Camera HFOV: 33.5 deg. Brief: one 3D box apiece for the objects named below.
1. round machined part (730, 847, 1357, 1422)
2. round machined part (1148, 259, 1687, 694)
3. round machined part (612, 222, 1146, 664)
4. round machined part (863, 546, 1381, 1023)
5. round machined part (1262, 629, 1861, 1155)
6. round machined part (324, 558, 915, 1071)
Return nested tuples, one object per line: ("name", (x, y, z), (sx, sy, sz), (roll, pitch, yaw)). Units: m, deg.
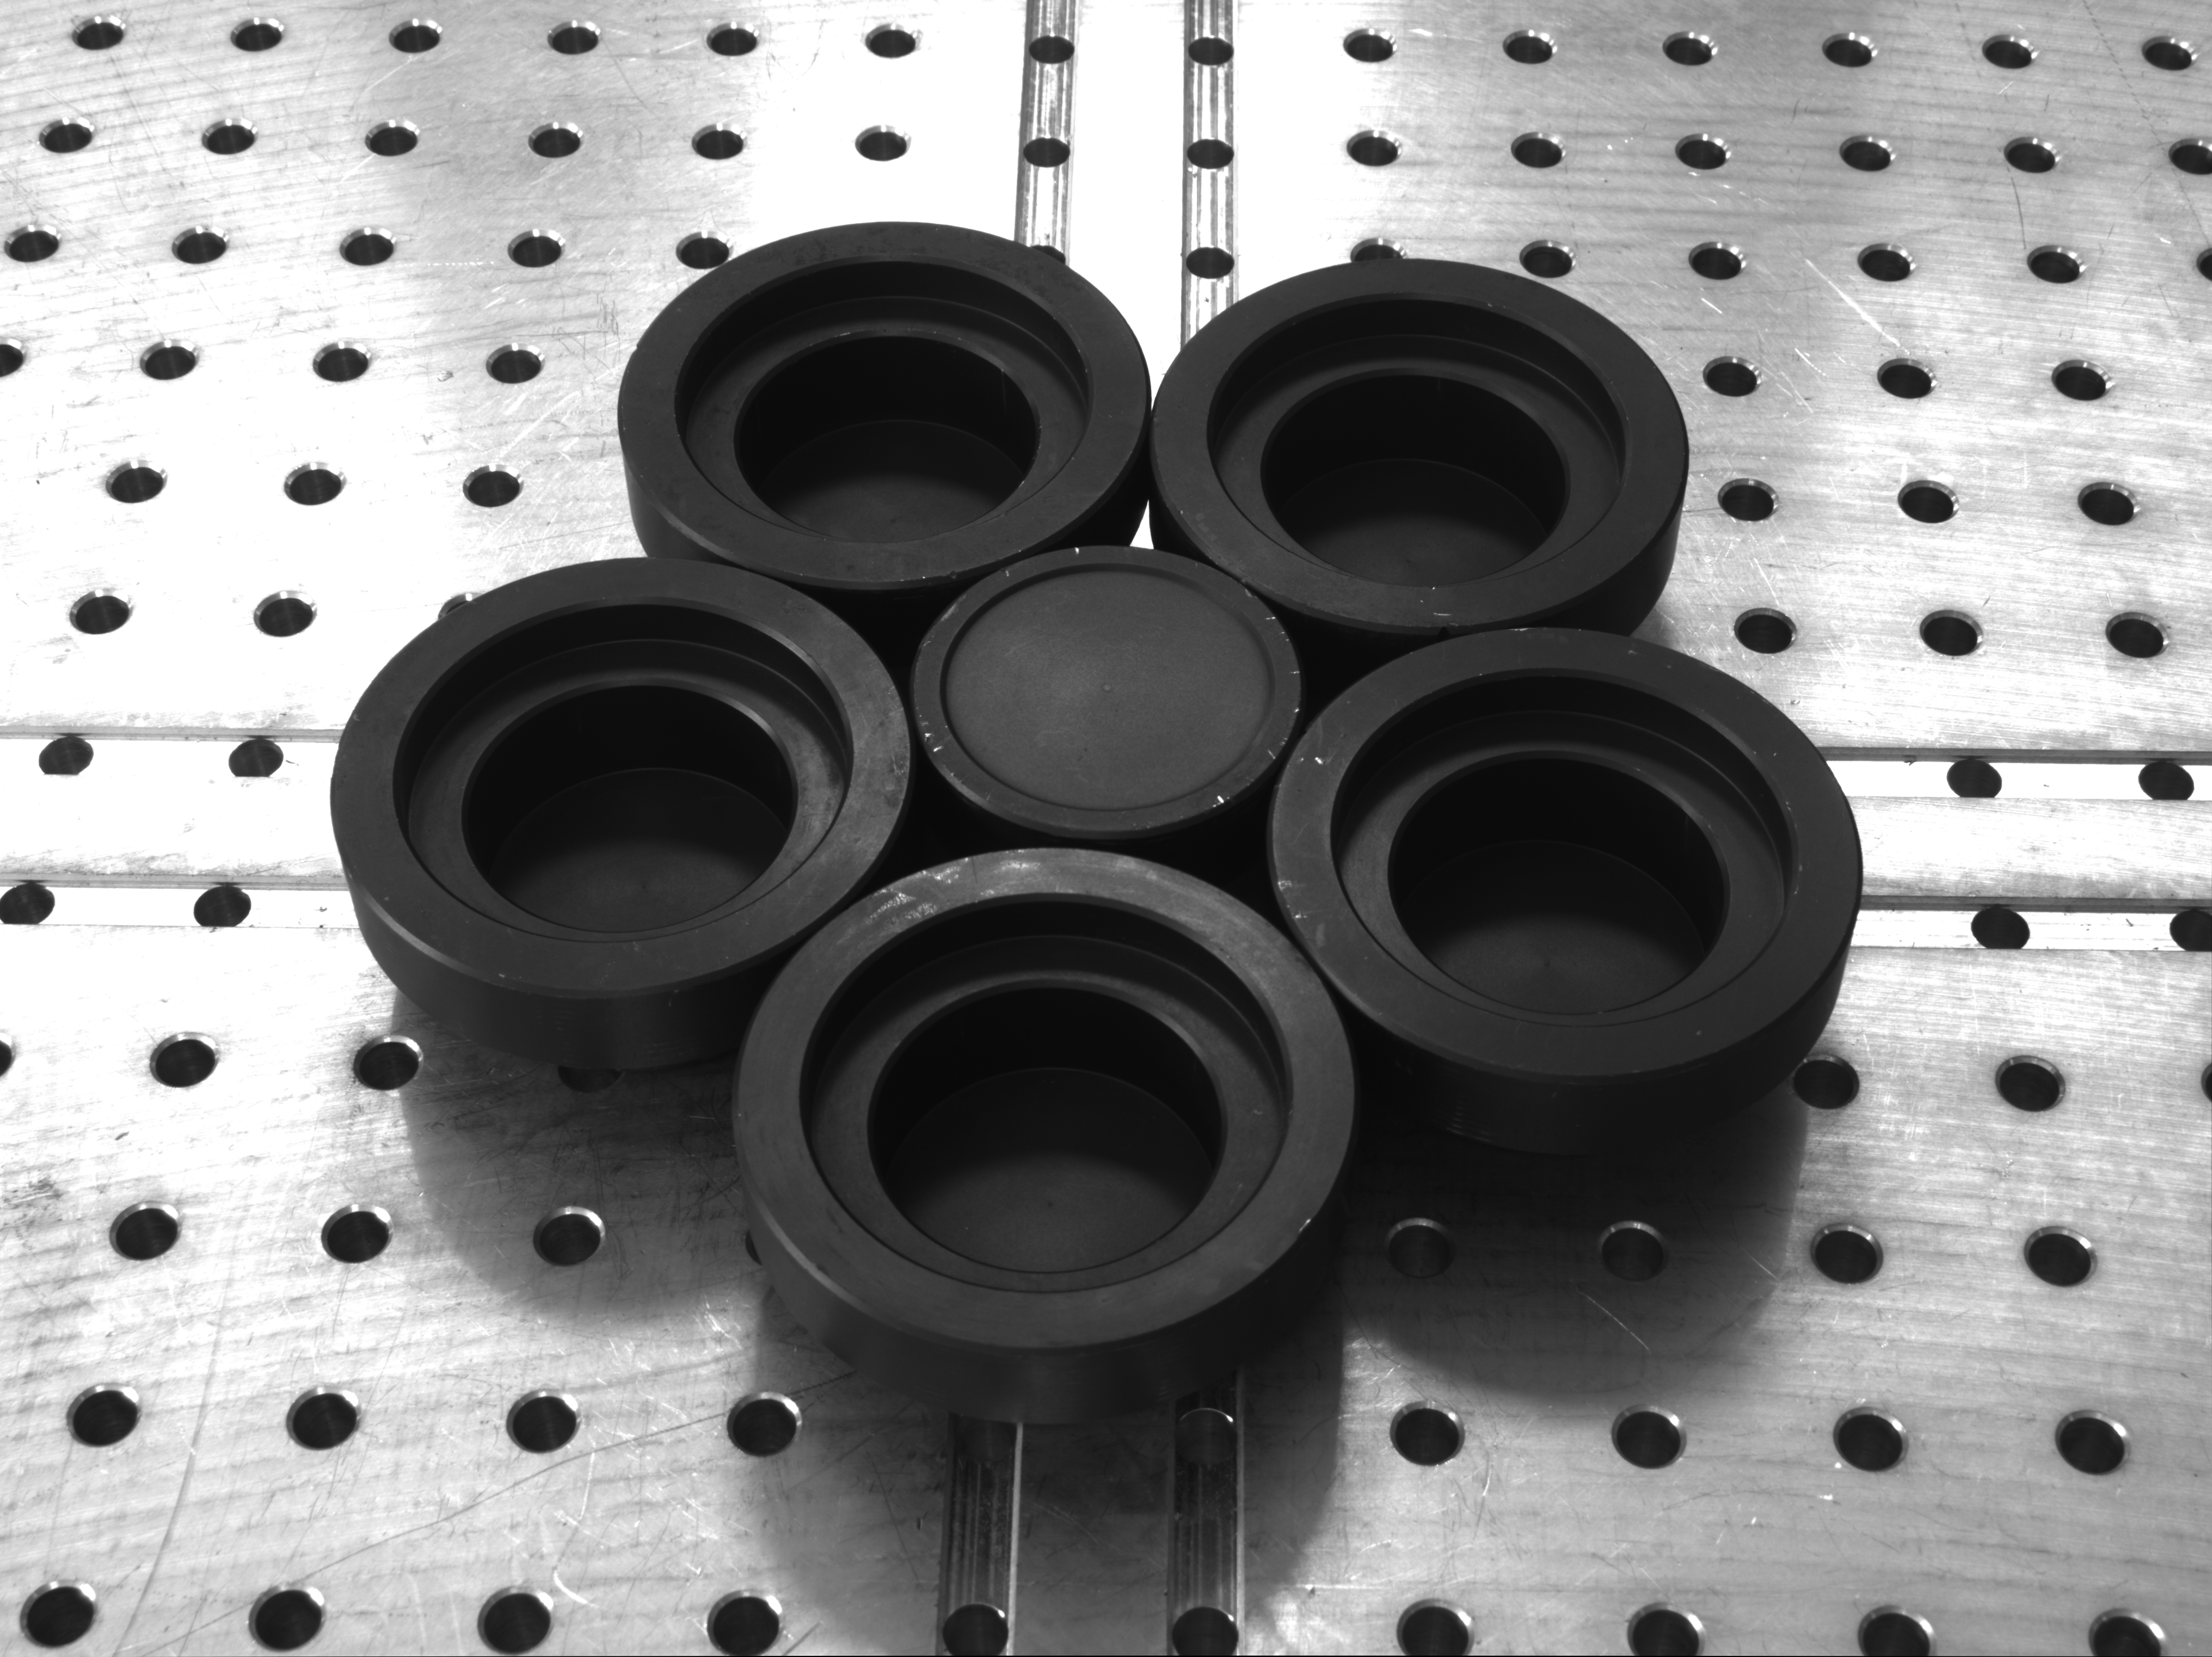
("round machined part", (-0.010, 0.053, 0.589), (0.098, 0.042, 0.098), (0, 50, 0))
("round machined part", (0.057, -0.058, 0.683), (0.098, 0.042, 0.098), (0, 50, 0))
("round machined part", (-0.041, -0.066, 0.690), (0.098, 0.042, 0.098), (0, 50, 0))
("round machined part", (-0.001, -0.011, 0.643), (0.098, 0.042, 0.098), (0, 50, 0))
("round machined part", (0.075, 0.016, 0.621), (0.098, 0.042, 0.098), (0, 50, 0))
("round machined part", (-0.082, 0.002, 0.632), (0.098, 0.042, 0.098), (0, 50, 0))
